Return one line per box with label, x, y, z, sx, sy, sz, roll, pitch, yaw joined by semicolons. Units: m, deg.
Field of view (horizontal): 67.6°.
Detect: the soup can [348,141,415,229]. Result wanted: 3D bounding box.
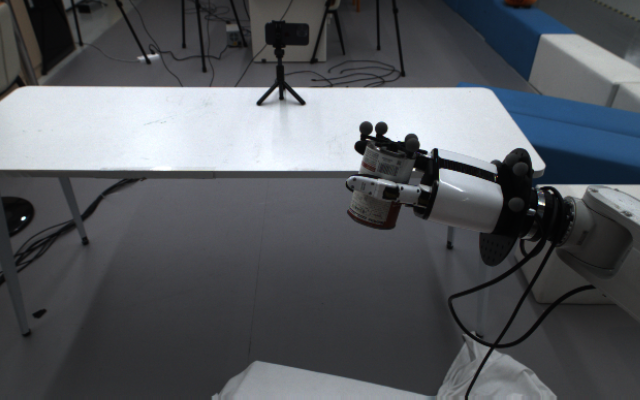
soup can;0.082;-0.021;0.639;0.067;0.101;0.067;13;18;-4
